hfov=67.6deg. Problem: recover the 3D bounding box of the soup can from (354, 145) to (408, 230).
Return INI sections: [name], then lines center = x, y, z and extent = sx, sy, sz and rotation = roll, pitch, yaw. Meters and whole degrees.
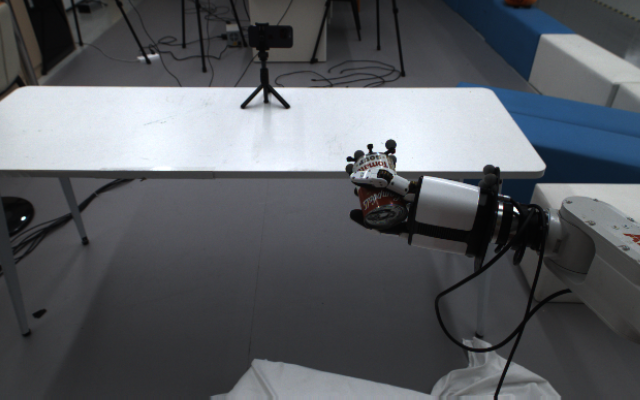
[soup can]
center = 0.092, -0.016, 0.750
extent = 0.067, 0.067, 0.101
rotation = -5, 57, -10
